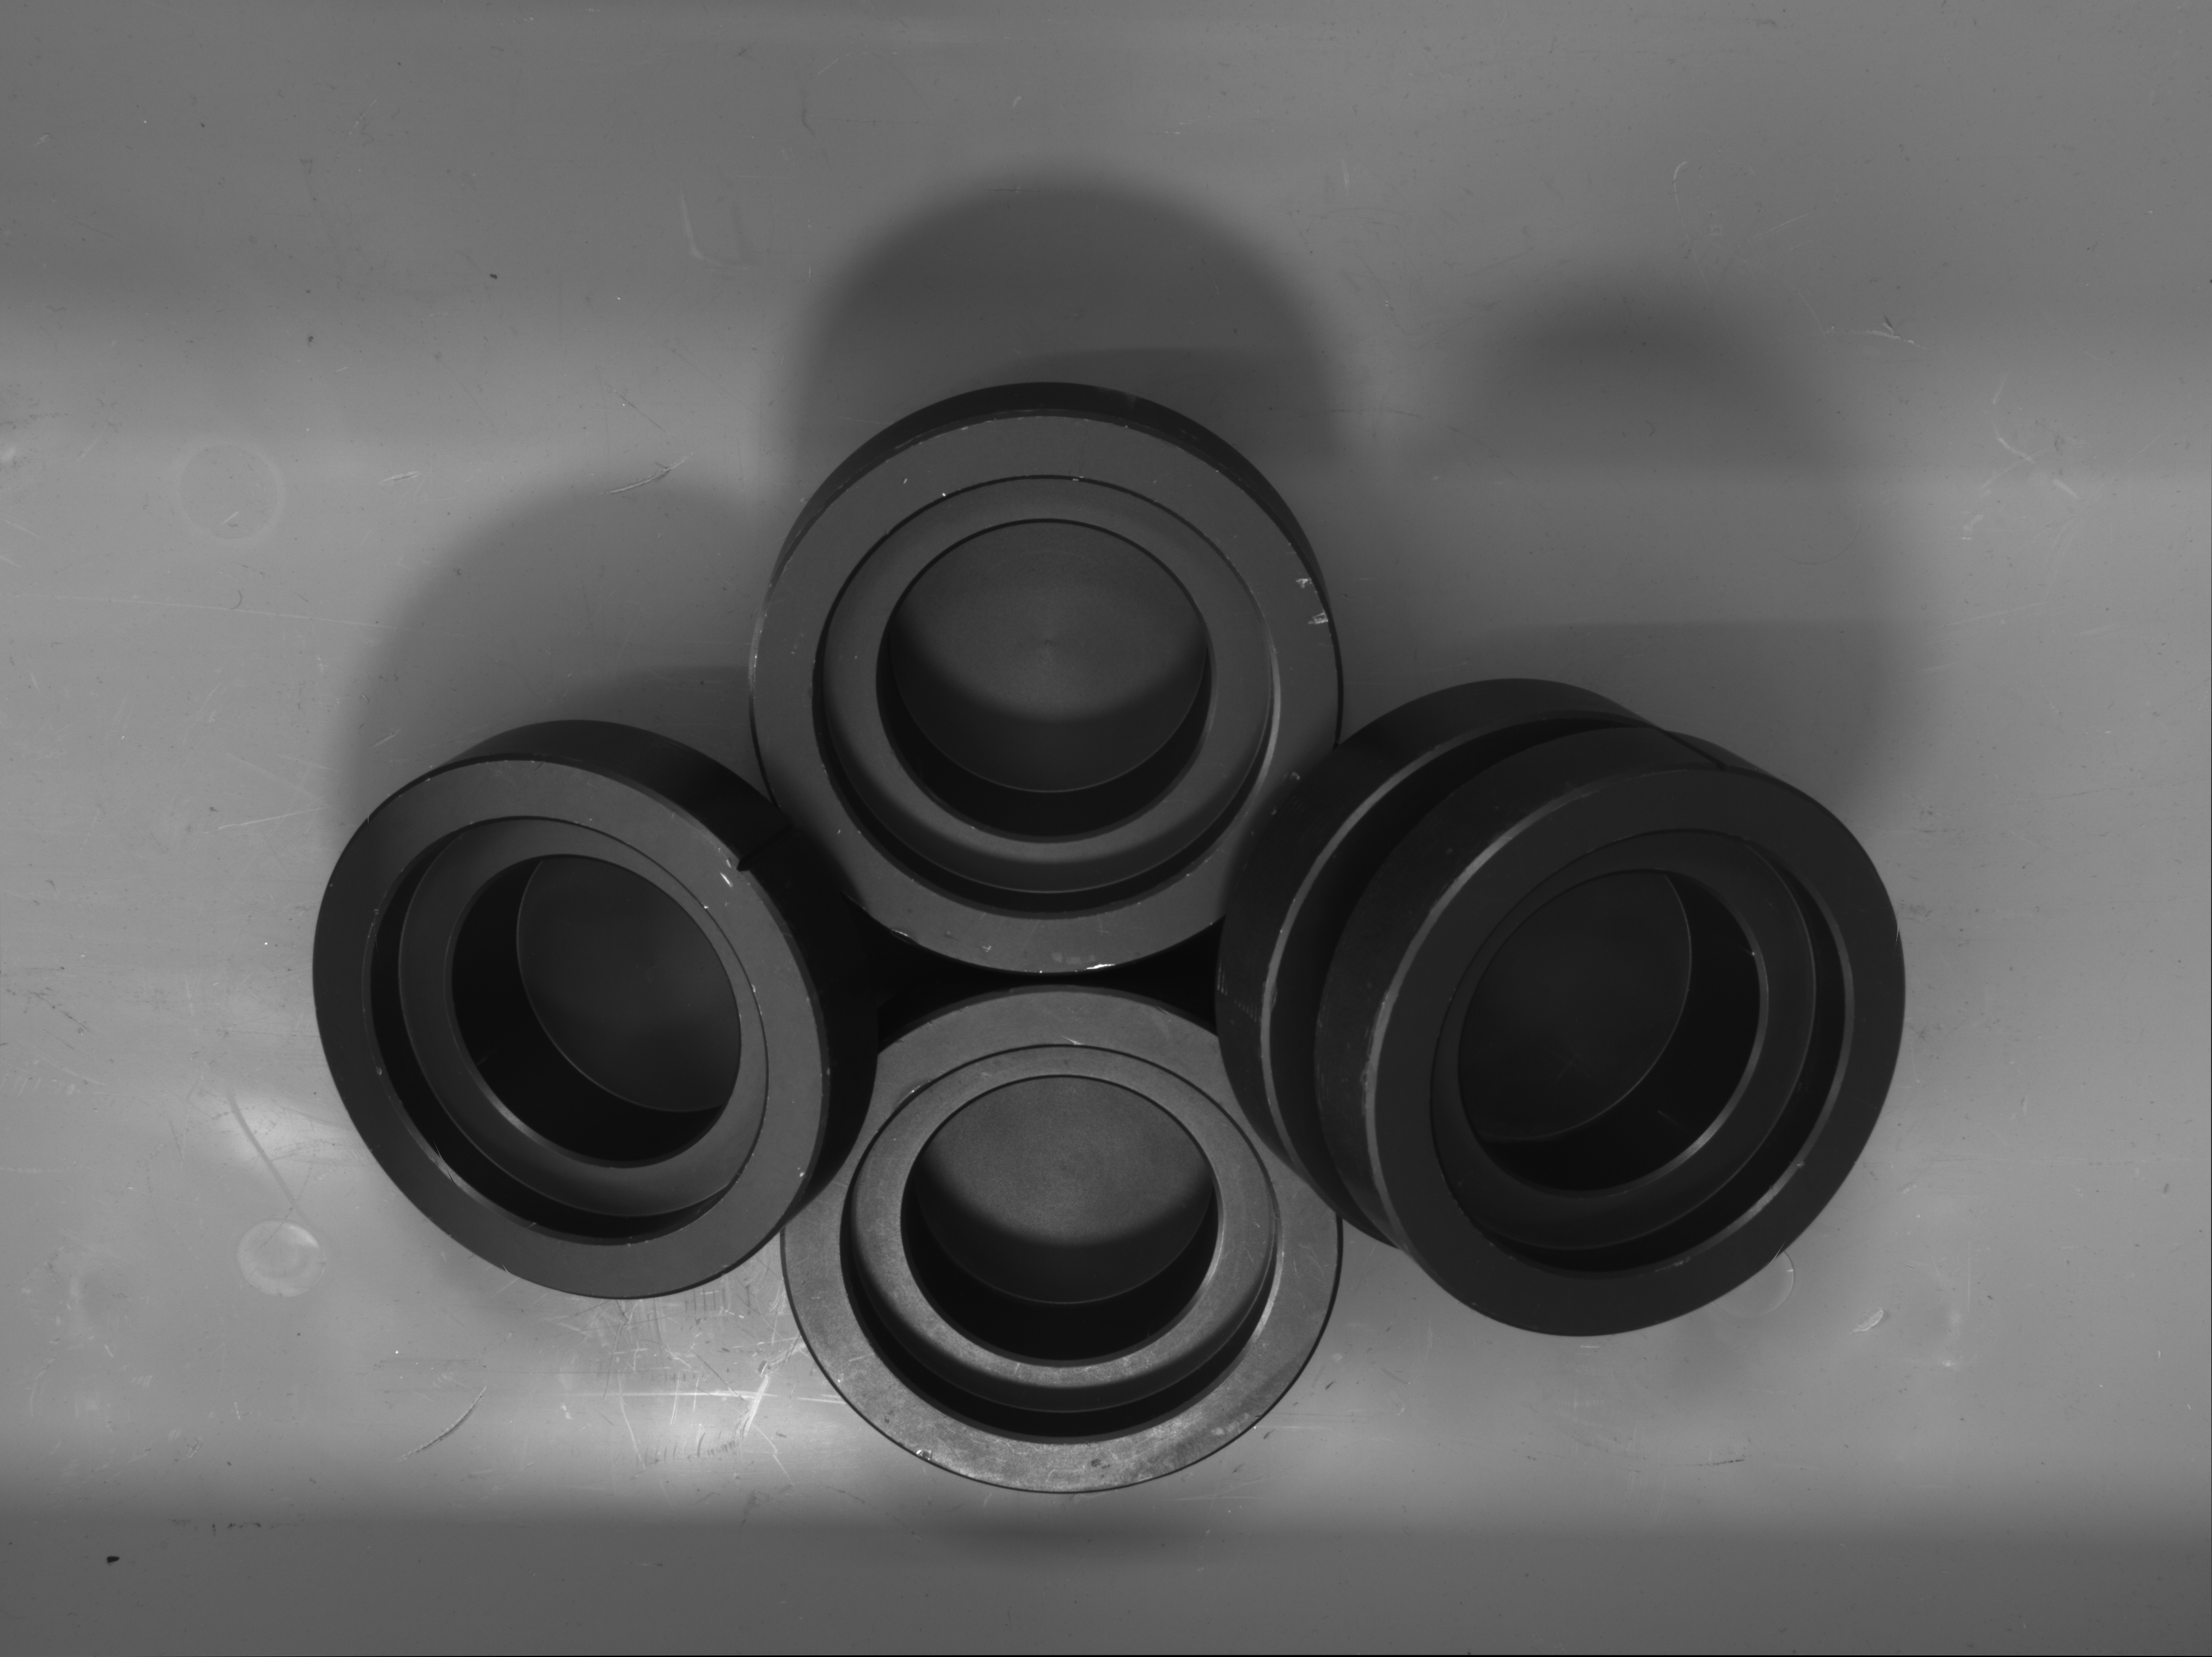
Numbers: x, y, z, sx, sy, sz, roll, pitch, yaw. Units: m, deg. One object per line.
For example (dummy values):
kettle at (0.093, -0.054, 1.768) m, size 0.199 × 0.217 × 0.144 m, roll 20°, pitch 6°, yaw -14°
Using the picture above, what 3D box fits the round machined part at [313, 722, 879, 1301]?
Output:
round machined part at (-0.083, 0.028, 0.632) m, size 0.098 × 0.042 × 0.098 m, roll 7°, pitch 111°, yaw 20°

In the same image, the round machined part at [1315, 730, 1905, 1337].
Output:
round machined part at (0.078, 0.030, 0.603) m, size 0.098 × 0.042 × 0.098 m, roll -8°, pitch 111°, yaw -21°

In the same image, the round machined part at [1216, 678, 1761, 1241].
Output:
round machined part at (0.063, 0.021, 0.630) m, size 0.098 × 0.042 × 0.098 m, roll -8°, pitch 111°, yaw -21°

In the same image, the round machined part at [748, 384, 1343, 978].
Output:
round machined part at (-0.010, -0.028, 0.622) m, size 0.098 × 0.042 × 0.098 m, roll 0°, pitch 110°, yaw 0°

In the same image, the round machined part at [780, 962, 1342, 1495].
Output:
round machined part at (-0.008, 0.066, 0.657) m, size 0.098 × 0.042 × 0.098 m, roll 0°, pitch 110°, yaw 0°
